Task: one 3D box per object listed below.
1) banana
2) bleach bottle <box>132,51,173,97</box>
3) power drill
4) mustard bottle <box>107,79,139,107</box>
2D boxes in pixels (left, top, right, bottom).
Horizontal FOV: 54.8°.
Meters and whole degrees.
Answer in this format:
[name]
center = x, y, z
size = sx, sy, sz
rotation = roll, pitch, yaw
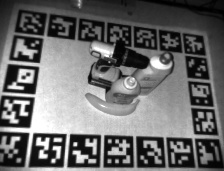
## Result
[banana]
center = 0.009, 0.075, 0.757
size = 0.198, 0.039, 0.074
rotation = 7, 72, -8
[bleach bottle]
center = 0.118, -0.036, 0.700
size = 0.103, 0.250, 0.067
rotation = 5, 65, -9
[power drill]
center = 0.008, -0.054, 0.685
size = 0.185, 0.186, 0.057
rotation = 15, 69, -8
[mustard bottle]
center = 0.044, 0.022, 0.690
size = 0.097, 0.191, 0.058
rotation = 4, 71, -11
